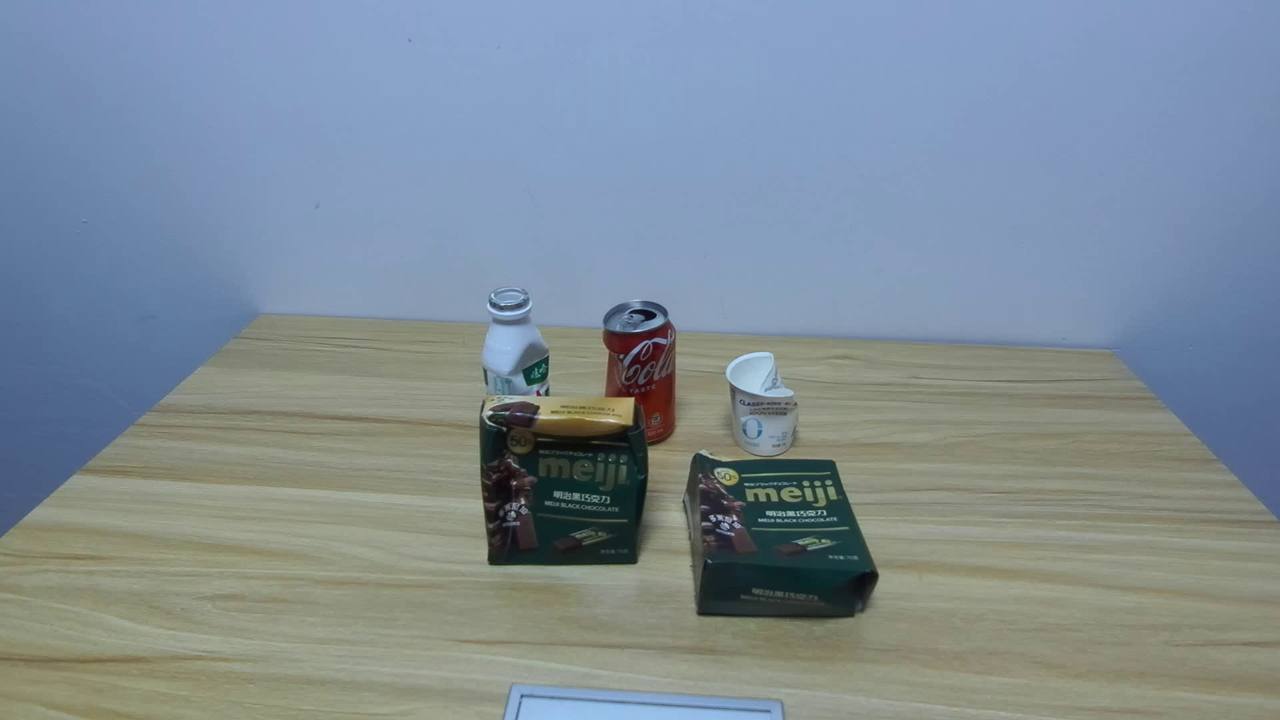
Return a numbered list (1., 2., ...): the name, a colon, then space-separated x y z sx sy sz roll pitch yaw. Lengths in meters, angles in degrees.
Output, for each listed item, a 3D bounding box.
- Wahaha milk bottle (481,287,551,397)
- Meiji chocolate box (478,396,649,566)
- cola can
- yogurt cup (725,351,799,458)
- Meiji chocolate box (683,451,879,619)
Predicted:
1. Wahaha milk bottle: -0.101 0.012 0.581 0.056 0.148 0.056 2 32 -1
2. Meiji chocolate box: -0.053 0.084 0.502 0.117 0.117 0.051 0 23 0
3. cola can: 0.001 0.013 0.614 0.065 0.117 0.072 -2 29 -6
4. yogurt cup: 0.105 0.040 0.607 0.067 0.070 0.067 1 34 0
5. Meiji chocolate box: 0.093 0.122 0.497 0.116 0.058 0.122 3 31 -2
